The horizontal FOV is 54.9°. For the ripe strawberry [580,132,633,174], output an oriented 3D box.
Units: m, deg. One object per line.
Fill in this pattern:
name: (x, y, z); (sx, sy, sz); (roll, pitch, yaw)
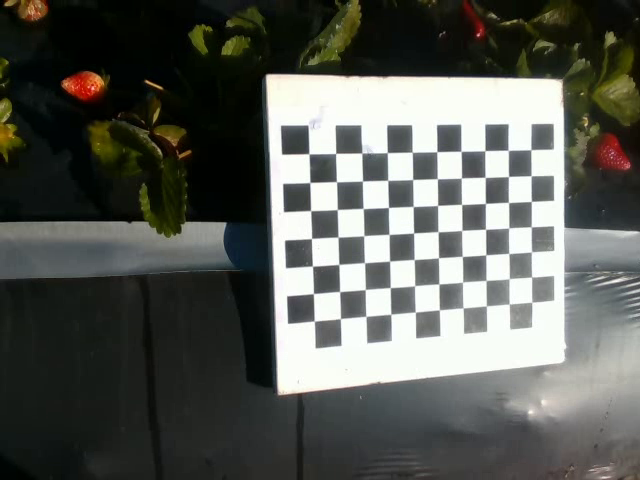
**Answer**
ripe strawberry: (0.318, -0.092, 0.671); (0.054, 0.048, 0.029); (43, -7, -12)
